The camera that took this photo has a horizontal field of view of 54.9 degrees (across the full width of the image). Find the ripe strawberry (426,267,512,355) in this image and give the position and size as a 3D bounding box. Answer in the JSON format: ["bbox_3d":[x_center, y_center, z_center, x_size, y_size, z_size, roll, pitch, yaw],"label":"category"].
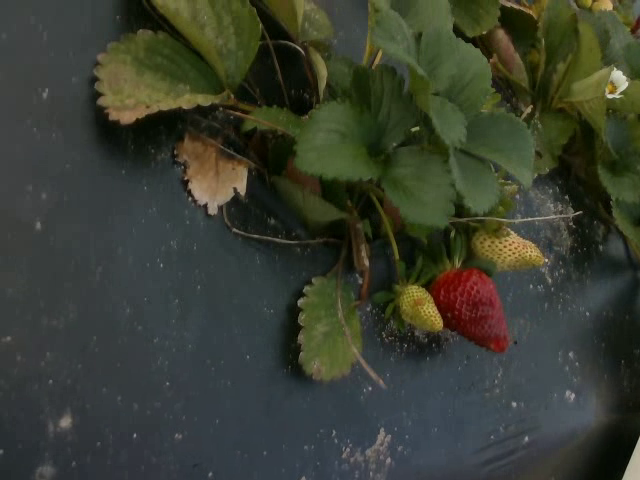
[{"bbox_3d":[0.086,0.043,0.338,0.046,0.046,0.059,-5,45,-32],"label":"ripe strawberry"}]
